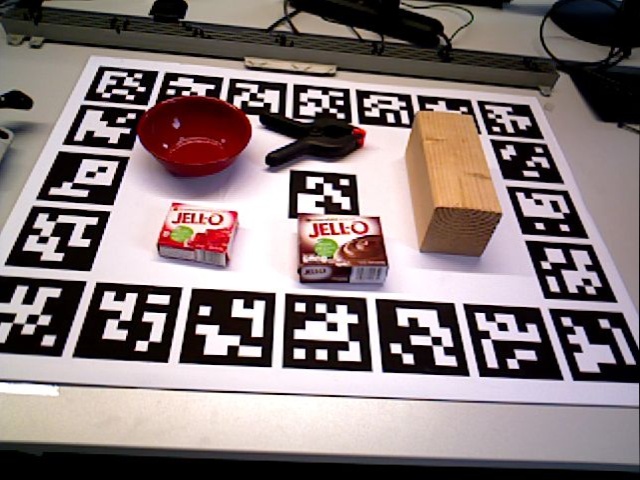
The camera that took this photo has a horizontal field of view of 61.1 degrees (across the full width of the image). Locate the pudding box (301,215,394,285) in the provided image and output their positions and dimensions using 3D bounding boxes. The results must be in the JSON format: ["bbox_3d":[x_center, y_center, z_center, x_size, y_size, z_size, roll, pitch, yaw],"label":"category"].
[{"bbox_3d":[0.032,0.011,0.694,0.113,0.039,0.088,2,54,-3],"label":"pudding box"}]

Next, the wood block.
[{"bbox_3d":[0.191,-0.083,0.758,0.089,0.093,0.202,6,50,-5],"label":"wood block"}]

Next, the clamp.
[{"bbox_3d":[-0.021,-0.157,0.838,0.163,0.037,0.120,-4,51,-13],"label":"clamp"}]

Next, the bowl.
[{"bbox_3d":[-0.179,-0.143,0.791,0.160,0.056,0.159,4,53,-6],"label":"bowl"}]

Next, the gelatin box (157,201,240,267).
[{"bbox_3d":[-0.153,-0.009,0.689,0.089,0.031,0.072,10,51,0],"label":"gelatin box"}]
